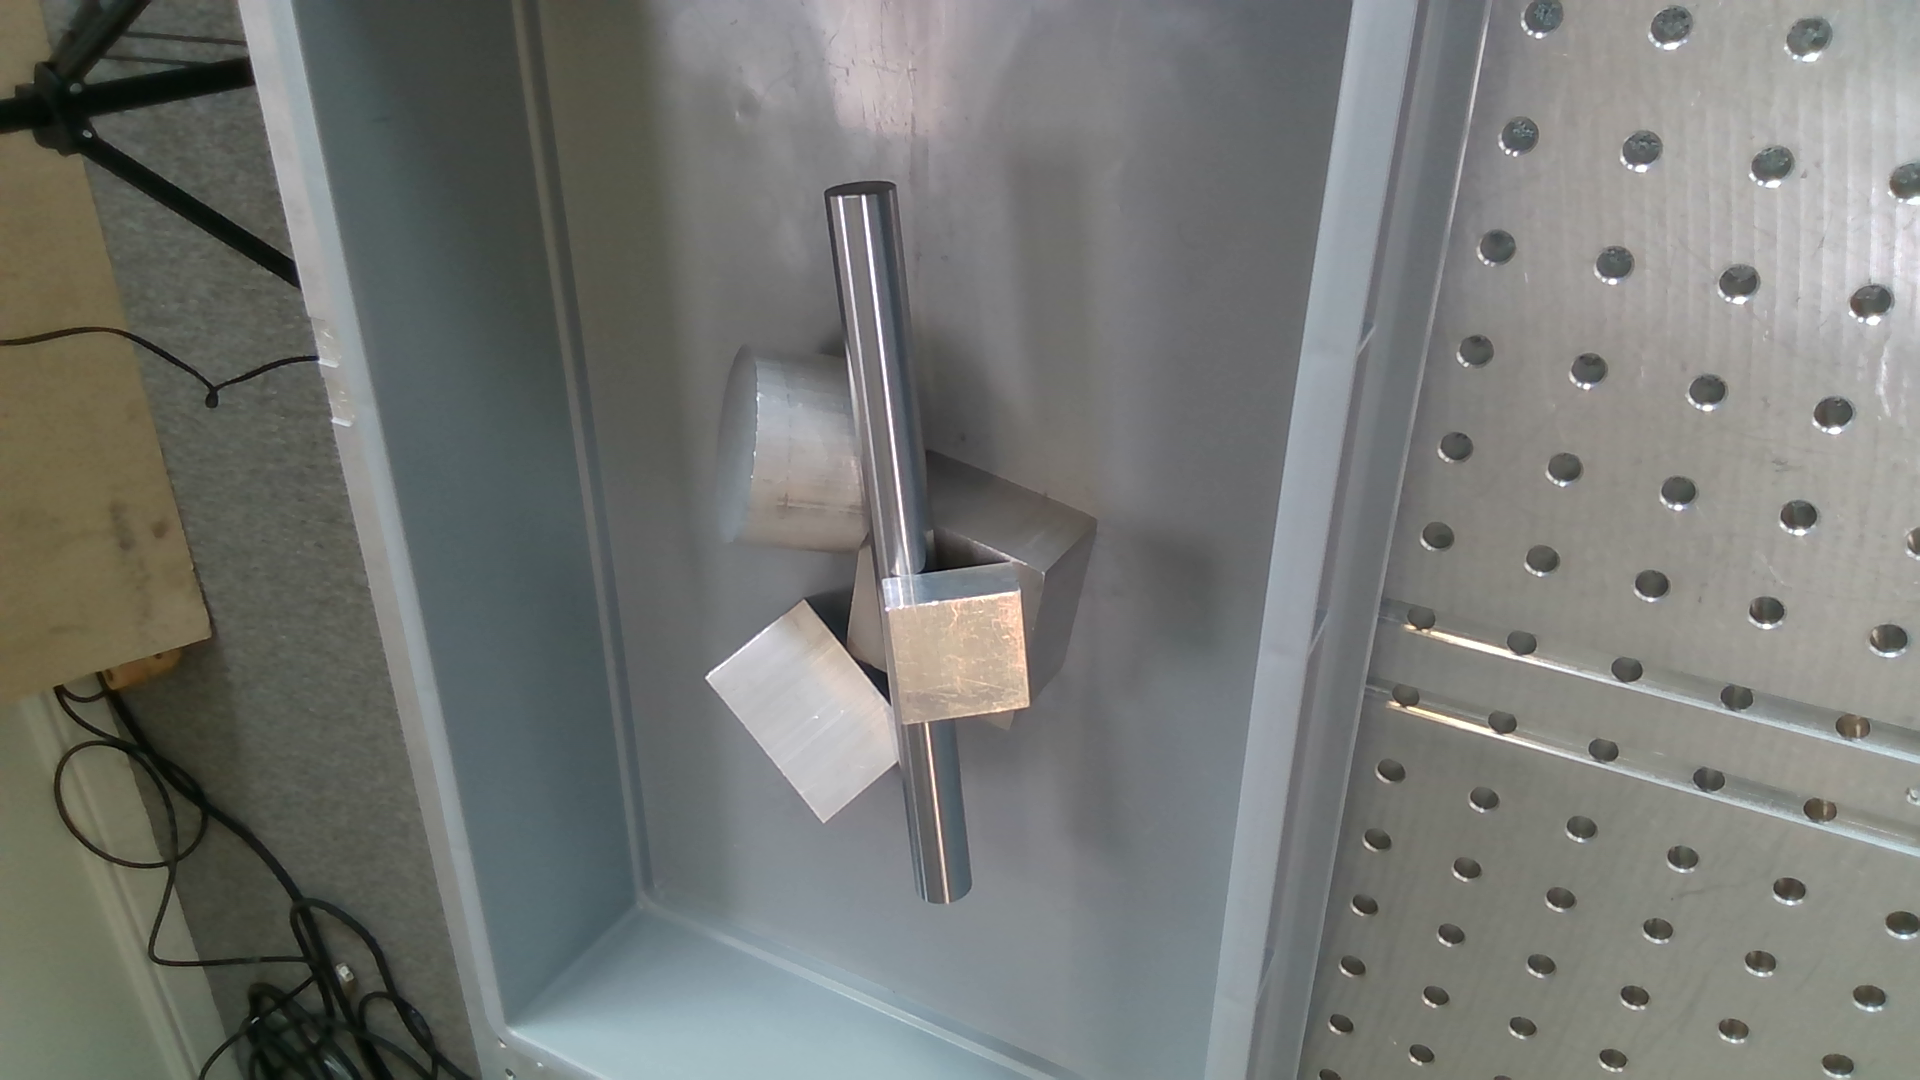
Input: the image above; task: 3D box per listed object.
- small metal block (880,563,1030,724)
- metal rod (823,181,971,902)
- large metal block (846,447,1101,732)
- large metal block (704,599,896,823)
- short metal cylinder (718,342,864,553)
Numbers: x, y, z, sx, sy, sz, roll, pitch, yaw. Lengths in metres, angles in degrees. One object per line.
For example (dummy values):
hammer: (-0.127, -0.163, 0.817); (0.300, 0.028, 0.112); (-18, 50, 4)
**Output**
small metal block: (-0.002, 0.039, 0.521); (0.050, 0.025, 0.050); (-8, 116, -3)
metal rod: (-0.021, 0.015, 0.535); (0.025, 0.025, 0.301); (9, 119, 28)
large metal block: (0.004, 0.019, 0.571); (0.080, 0.050, 0.080); (24, 125, 19)
large metal block: (-0.067, 0.073, 0.617); (0.080, 0.050, 0.080); (51, 173, -2)
short metal cylinder: (-0.067, -0.037, 0.557); (0.050, 0.080, 0.080); (5, 129, -21)
